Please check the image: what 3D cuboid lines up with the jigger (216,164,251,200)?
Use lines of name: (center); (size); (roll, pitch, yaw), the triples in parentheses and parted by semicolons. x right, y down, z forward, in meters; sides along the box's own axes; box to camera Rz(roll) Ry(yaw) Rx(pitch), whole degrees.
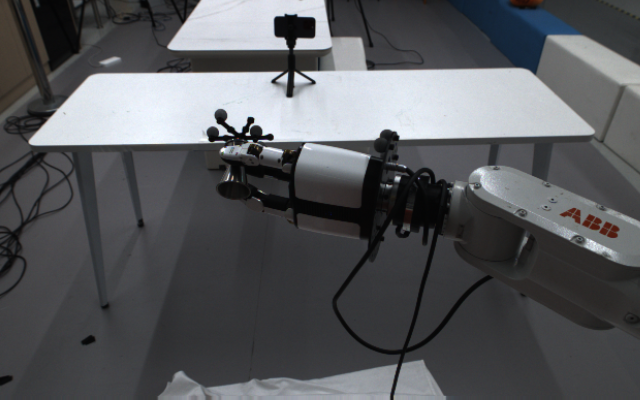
jigger: (-0.108, -0.043, 0.624); (0.043, 0.043, 0.071); (2, 59, -1)
